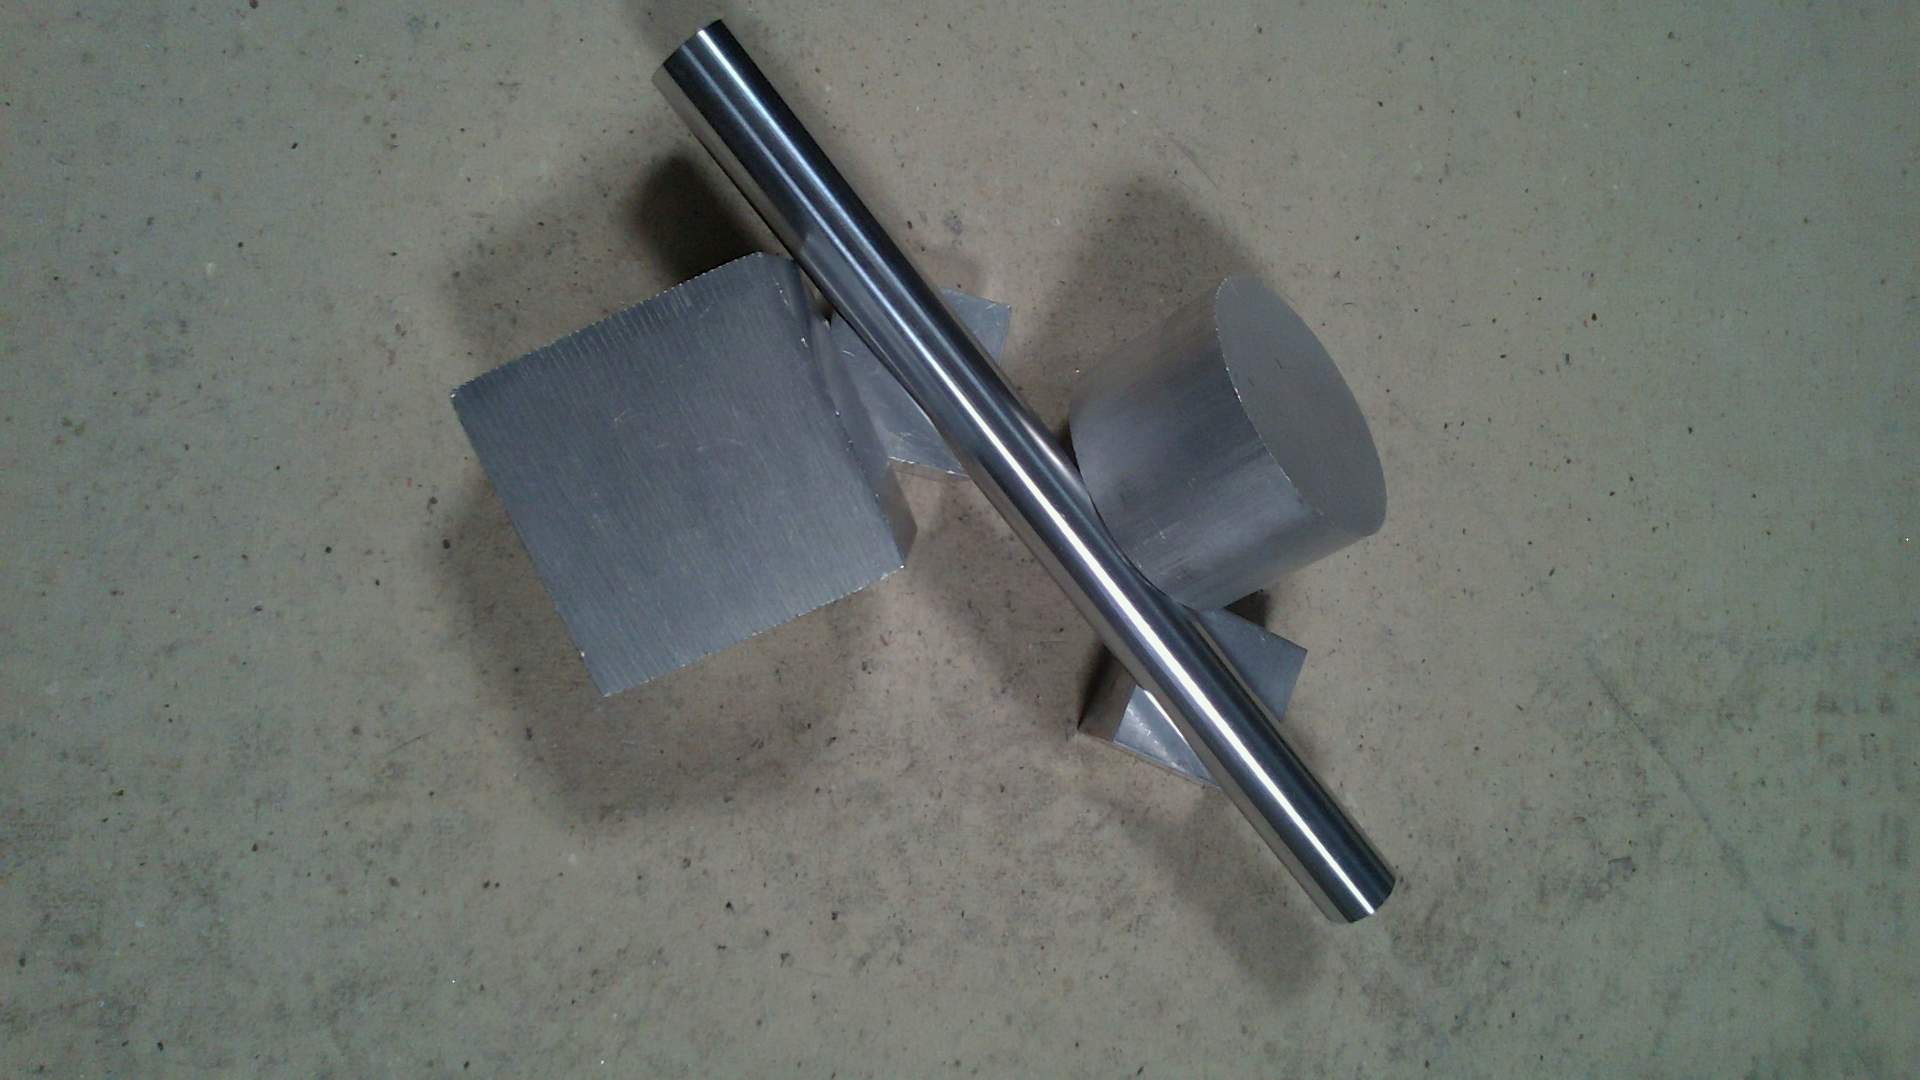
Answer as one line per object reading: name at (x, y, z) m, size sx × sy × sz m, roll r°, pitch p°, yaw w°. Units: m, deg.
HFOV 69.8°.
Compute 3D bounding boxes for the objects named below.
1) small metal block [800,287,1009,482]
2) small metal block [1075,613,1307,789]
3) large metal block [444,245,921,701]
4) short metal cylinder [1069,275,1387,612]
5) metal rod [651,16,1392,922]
small metal block at (-0.019, -0.047, 0.387) m, size 0.050 × 0.025 × 0.050 m, roll 13°, pitch 86°, yaw -20°
small metal block at (0.071, 0.046, 0.420) m, size 0.050 × 0.025 × 0.050 m, roll 26°, pitch 82°, yaw -18°
large metal block at (-0.064, -0.018, 0.340) m, size 0.080 × 0.050 × 0.080 m, roll -23°, pitch 99°, yaw 5°
short metal cylinder at (0.076, -0.026, 0.387) m, size 0.080 × 0.050 × 0.080 m, roll 32°, pitch 42°, yaw -34°
metal rod at (0.025, -0.009, 0.376) m, size 0.025 × 0.025 × 0.300 m, roll -43°, pitch 104°, yaw -15°
